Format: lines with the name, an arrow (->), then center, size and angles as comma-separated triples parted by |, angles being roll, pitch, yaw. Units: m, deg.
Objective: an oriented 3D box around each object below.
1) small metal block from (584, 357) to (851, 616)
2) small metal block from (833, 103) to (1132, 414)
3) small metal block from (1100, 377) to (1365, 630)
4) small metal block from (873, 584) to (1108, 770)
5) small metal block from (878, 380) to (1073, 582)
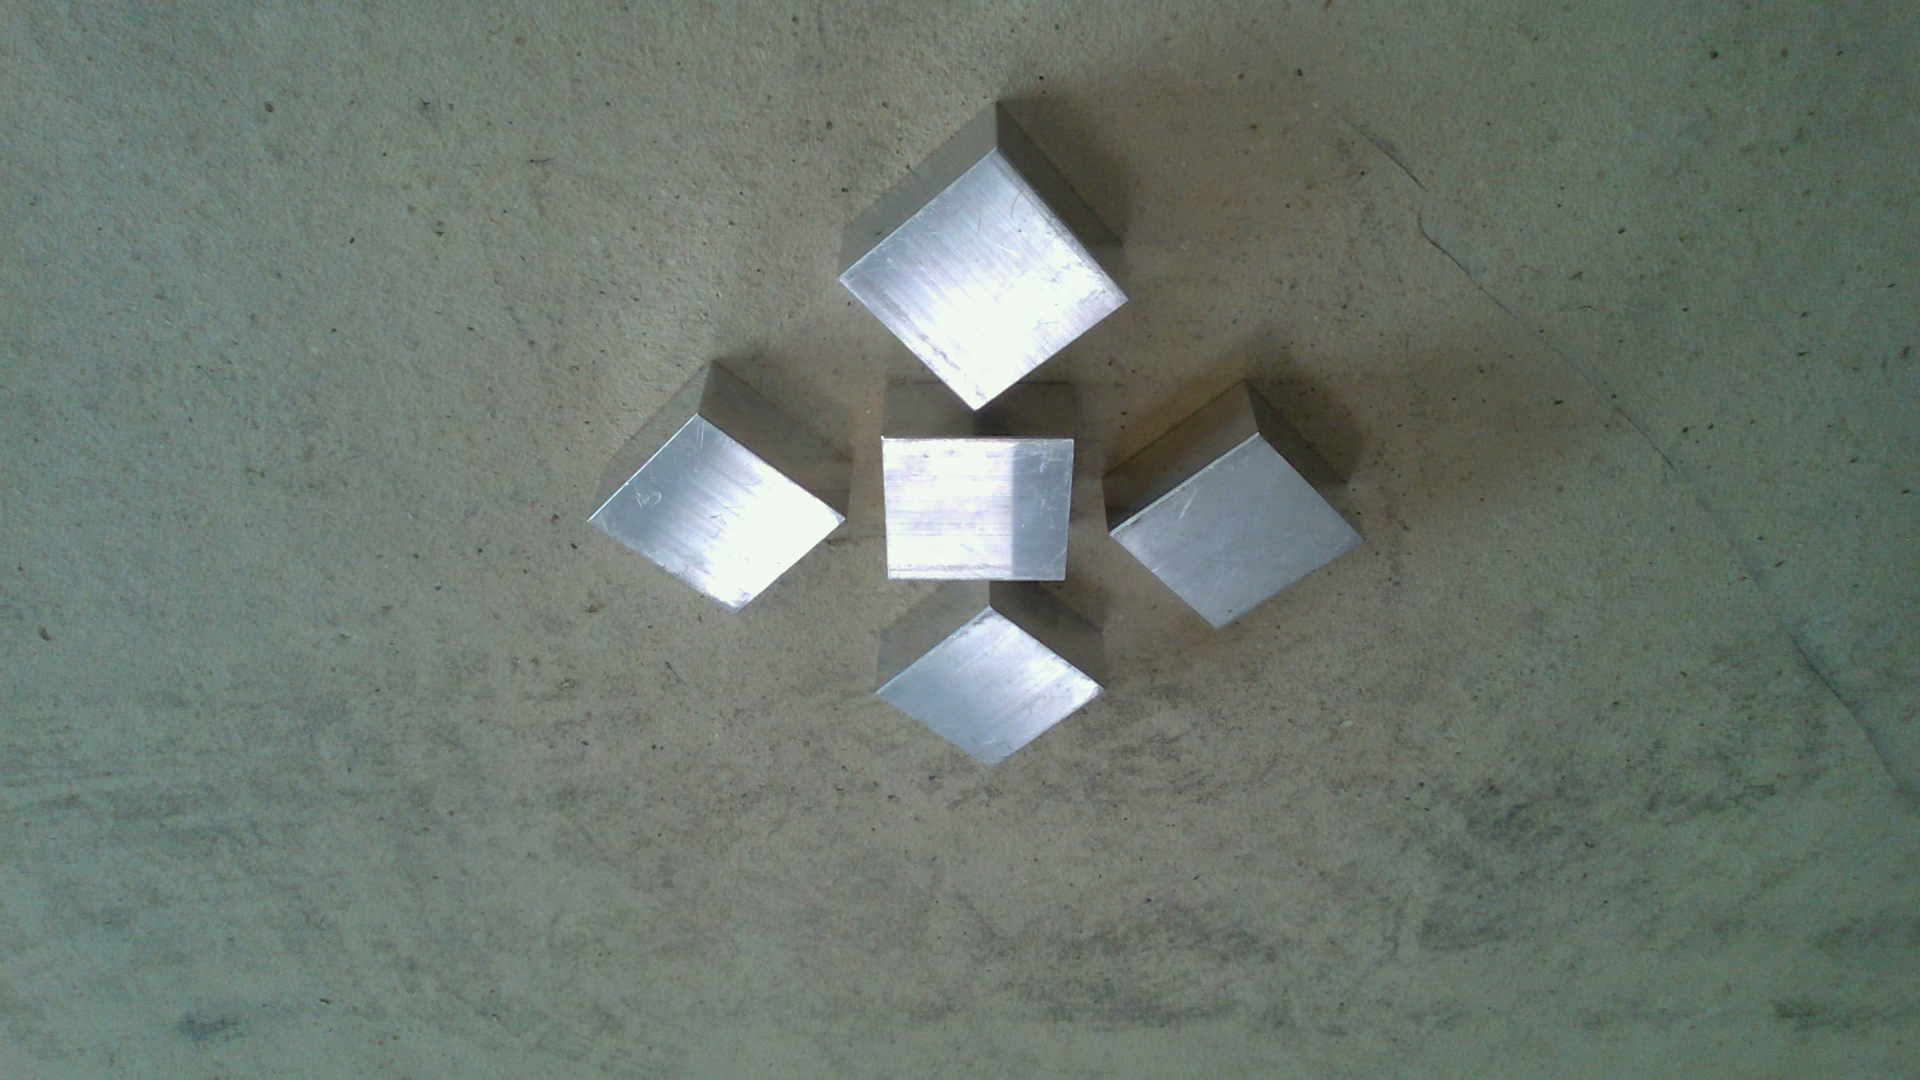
small metal block -> -0.066, -0.014, 0.379 | 0.050, 0.025, 0.050 | 36, 120, -27
small metal block -> 0.006, -0.067, 0.334 | 0.050, 0.025, 0.050 | -34, 122, 24
small metal block -> 0.075, -0.009, 0.385 | 0.050, 0.025, 0.050 | -36, 122, 26
small metal block -> 0.009, 0.038, 0.423 | 0.050, 0.025, 0.050 | 36, 121, -27
small metal block -> 0.004, -0.016, 0.377 | 0.050, 0.025, 0.050 | 0, 130, 0
